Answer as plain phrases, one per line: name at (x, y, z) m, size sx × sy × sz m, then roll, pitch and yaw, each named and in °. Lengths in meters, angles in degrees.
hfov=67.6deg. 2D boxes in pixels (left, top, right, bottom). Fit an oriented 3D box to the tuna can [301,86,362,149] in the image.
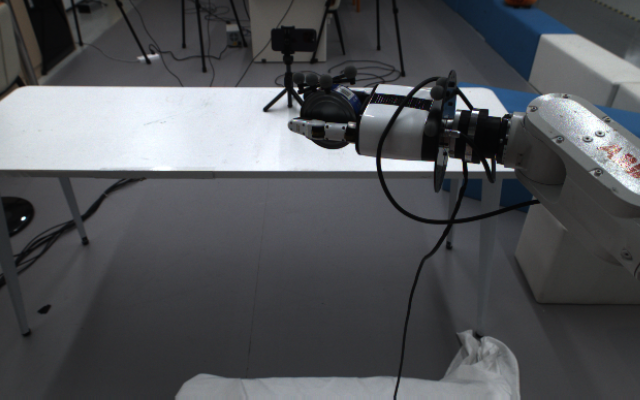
tuna can at (0.018, -0.117, 0.676) m, size 0.085 × 0.085 × 0.034 m, roll 17°, pitch 36°, yaw 20°
